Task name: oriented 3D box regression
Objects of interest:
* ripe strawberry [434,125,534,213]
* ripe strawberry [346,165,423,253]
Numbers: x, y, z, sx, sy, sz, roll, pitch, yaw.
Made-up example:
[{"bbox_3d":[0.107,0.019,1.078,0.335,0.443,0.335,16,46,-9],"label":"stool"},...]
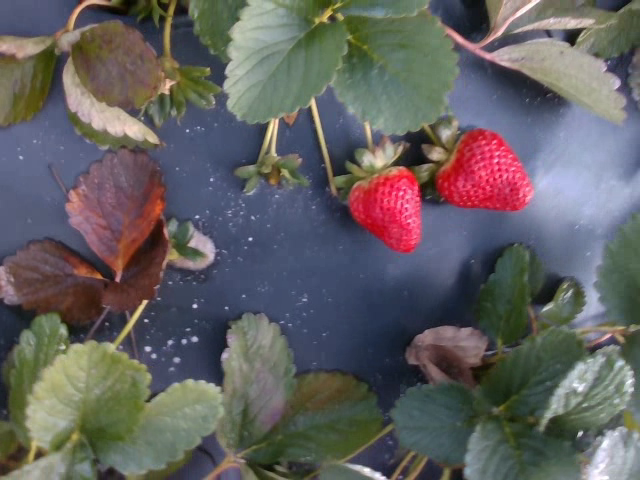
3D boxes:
[{"bbox_3d":[0.104,-0.037,0.423,0.064,0.058,0.051,32,7,8],"label":"ripe strawberry"},{"bbox_3d":[0.045,-0.018,0.418,0.048,0.056,0.041,-27,1,-7],"label":"ripe strawberry"}]
